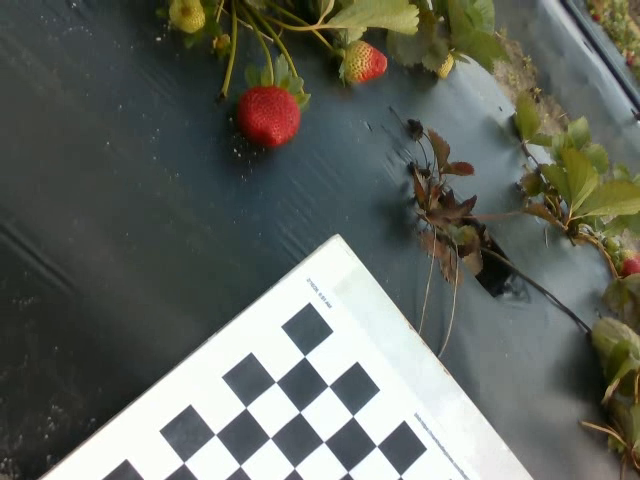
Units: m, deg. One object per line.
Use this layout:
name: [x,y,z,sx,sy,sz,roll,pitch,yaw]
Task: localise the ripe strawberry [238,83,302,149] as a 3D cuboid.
ripe strawberry: [-0.031,-0.074,0.389,0.045,0.042,0.055,2,22,-7]
